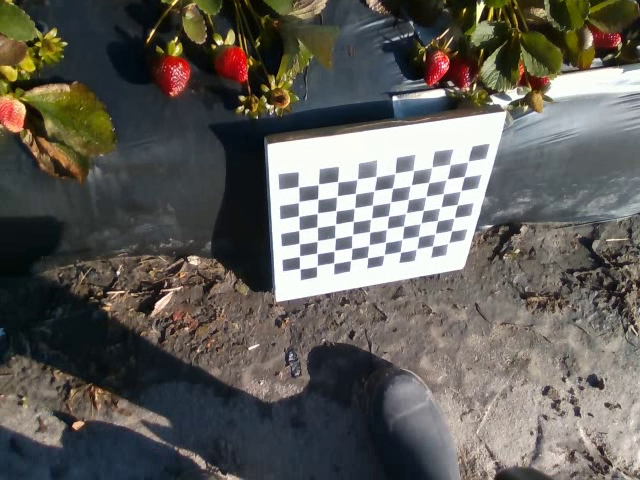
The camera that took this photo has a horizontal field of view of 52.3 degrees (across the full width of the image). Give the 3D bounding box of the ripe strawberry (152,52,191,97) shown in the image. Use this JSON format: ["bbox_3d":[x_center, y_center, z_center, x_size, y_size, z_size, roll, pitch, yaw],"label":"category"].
[{"bbox_3d":[-0.165,-0.175,0.697,0.050,0.050,0.044,2,-22,-24],"label":"ripe strawberry"}]

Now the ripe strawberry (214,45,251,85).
[{"bbox_3d":[-0.095,-0.192,0.710,0.042,0.049,0.039,-38,-17,24],"label":"ripe strawberry"}]
